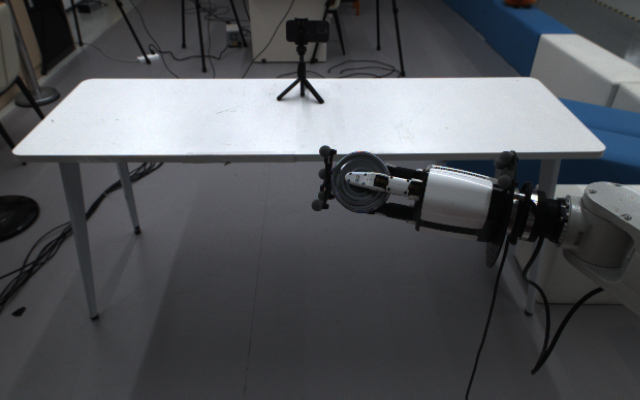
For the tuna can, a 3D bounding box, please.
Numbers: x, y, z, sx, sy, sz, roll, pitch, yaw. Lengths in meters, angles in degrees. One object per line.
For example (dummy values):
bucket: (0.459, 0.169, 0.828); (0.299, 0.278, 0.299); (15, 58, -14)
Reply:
tuna can: (0.062, -0.022, 0.685); (0.085, 0.085, 0.034); (9, -6, 10)
